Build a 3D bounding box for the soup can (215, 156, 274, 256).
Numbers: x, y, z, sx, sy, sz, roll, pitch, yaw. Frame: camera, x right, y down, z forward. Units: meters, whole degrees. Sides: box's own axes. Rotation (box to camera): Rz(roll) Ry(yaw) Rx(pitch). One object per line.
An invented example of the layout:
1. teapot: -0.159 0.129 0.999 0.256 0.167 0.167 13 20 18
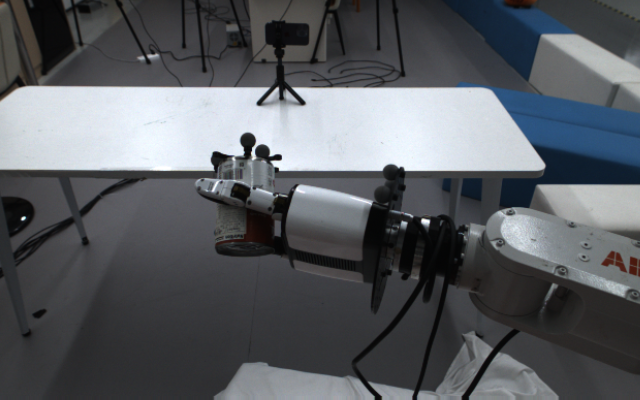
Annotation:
1. soup can: -0.082 0.008 0.552 0.067 0.067 0.101 -2 71 -5
